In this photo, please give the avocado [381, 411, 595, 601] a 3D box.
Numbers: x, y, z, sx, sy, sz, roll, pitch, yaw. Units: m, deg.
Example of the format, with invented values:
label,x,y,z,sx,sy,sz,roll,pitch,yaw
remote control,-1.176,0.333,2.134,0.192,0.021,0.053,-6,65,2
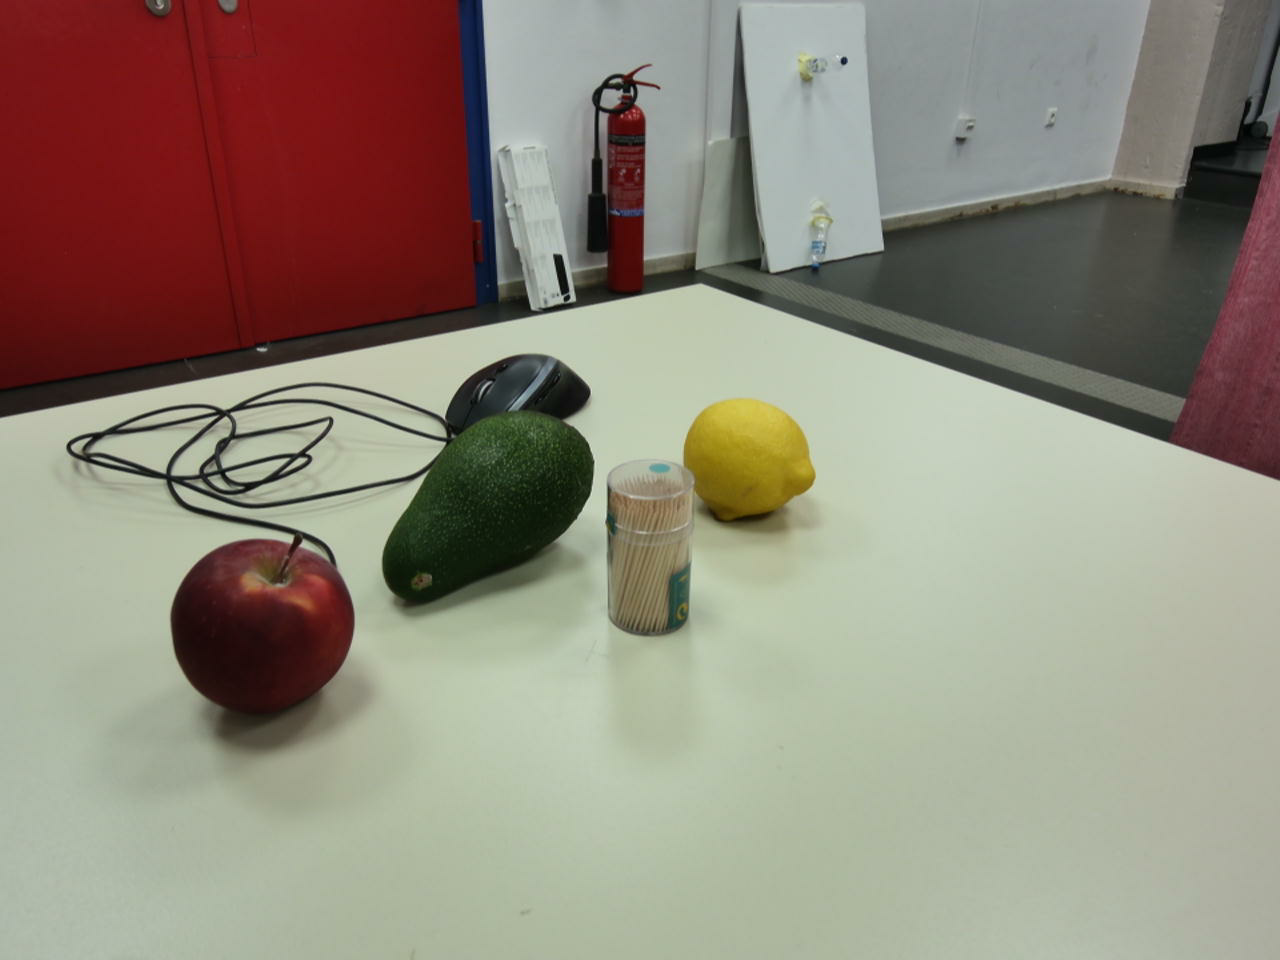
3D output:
label,x,y,z,sx,sy,sz,roll,pitch,yaw
avocado,-0.079,0.007,0.506,0.123,0.076,0.074,-14,29,-29
